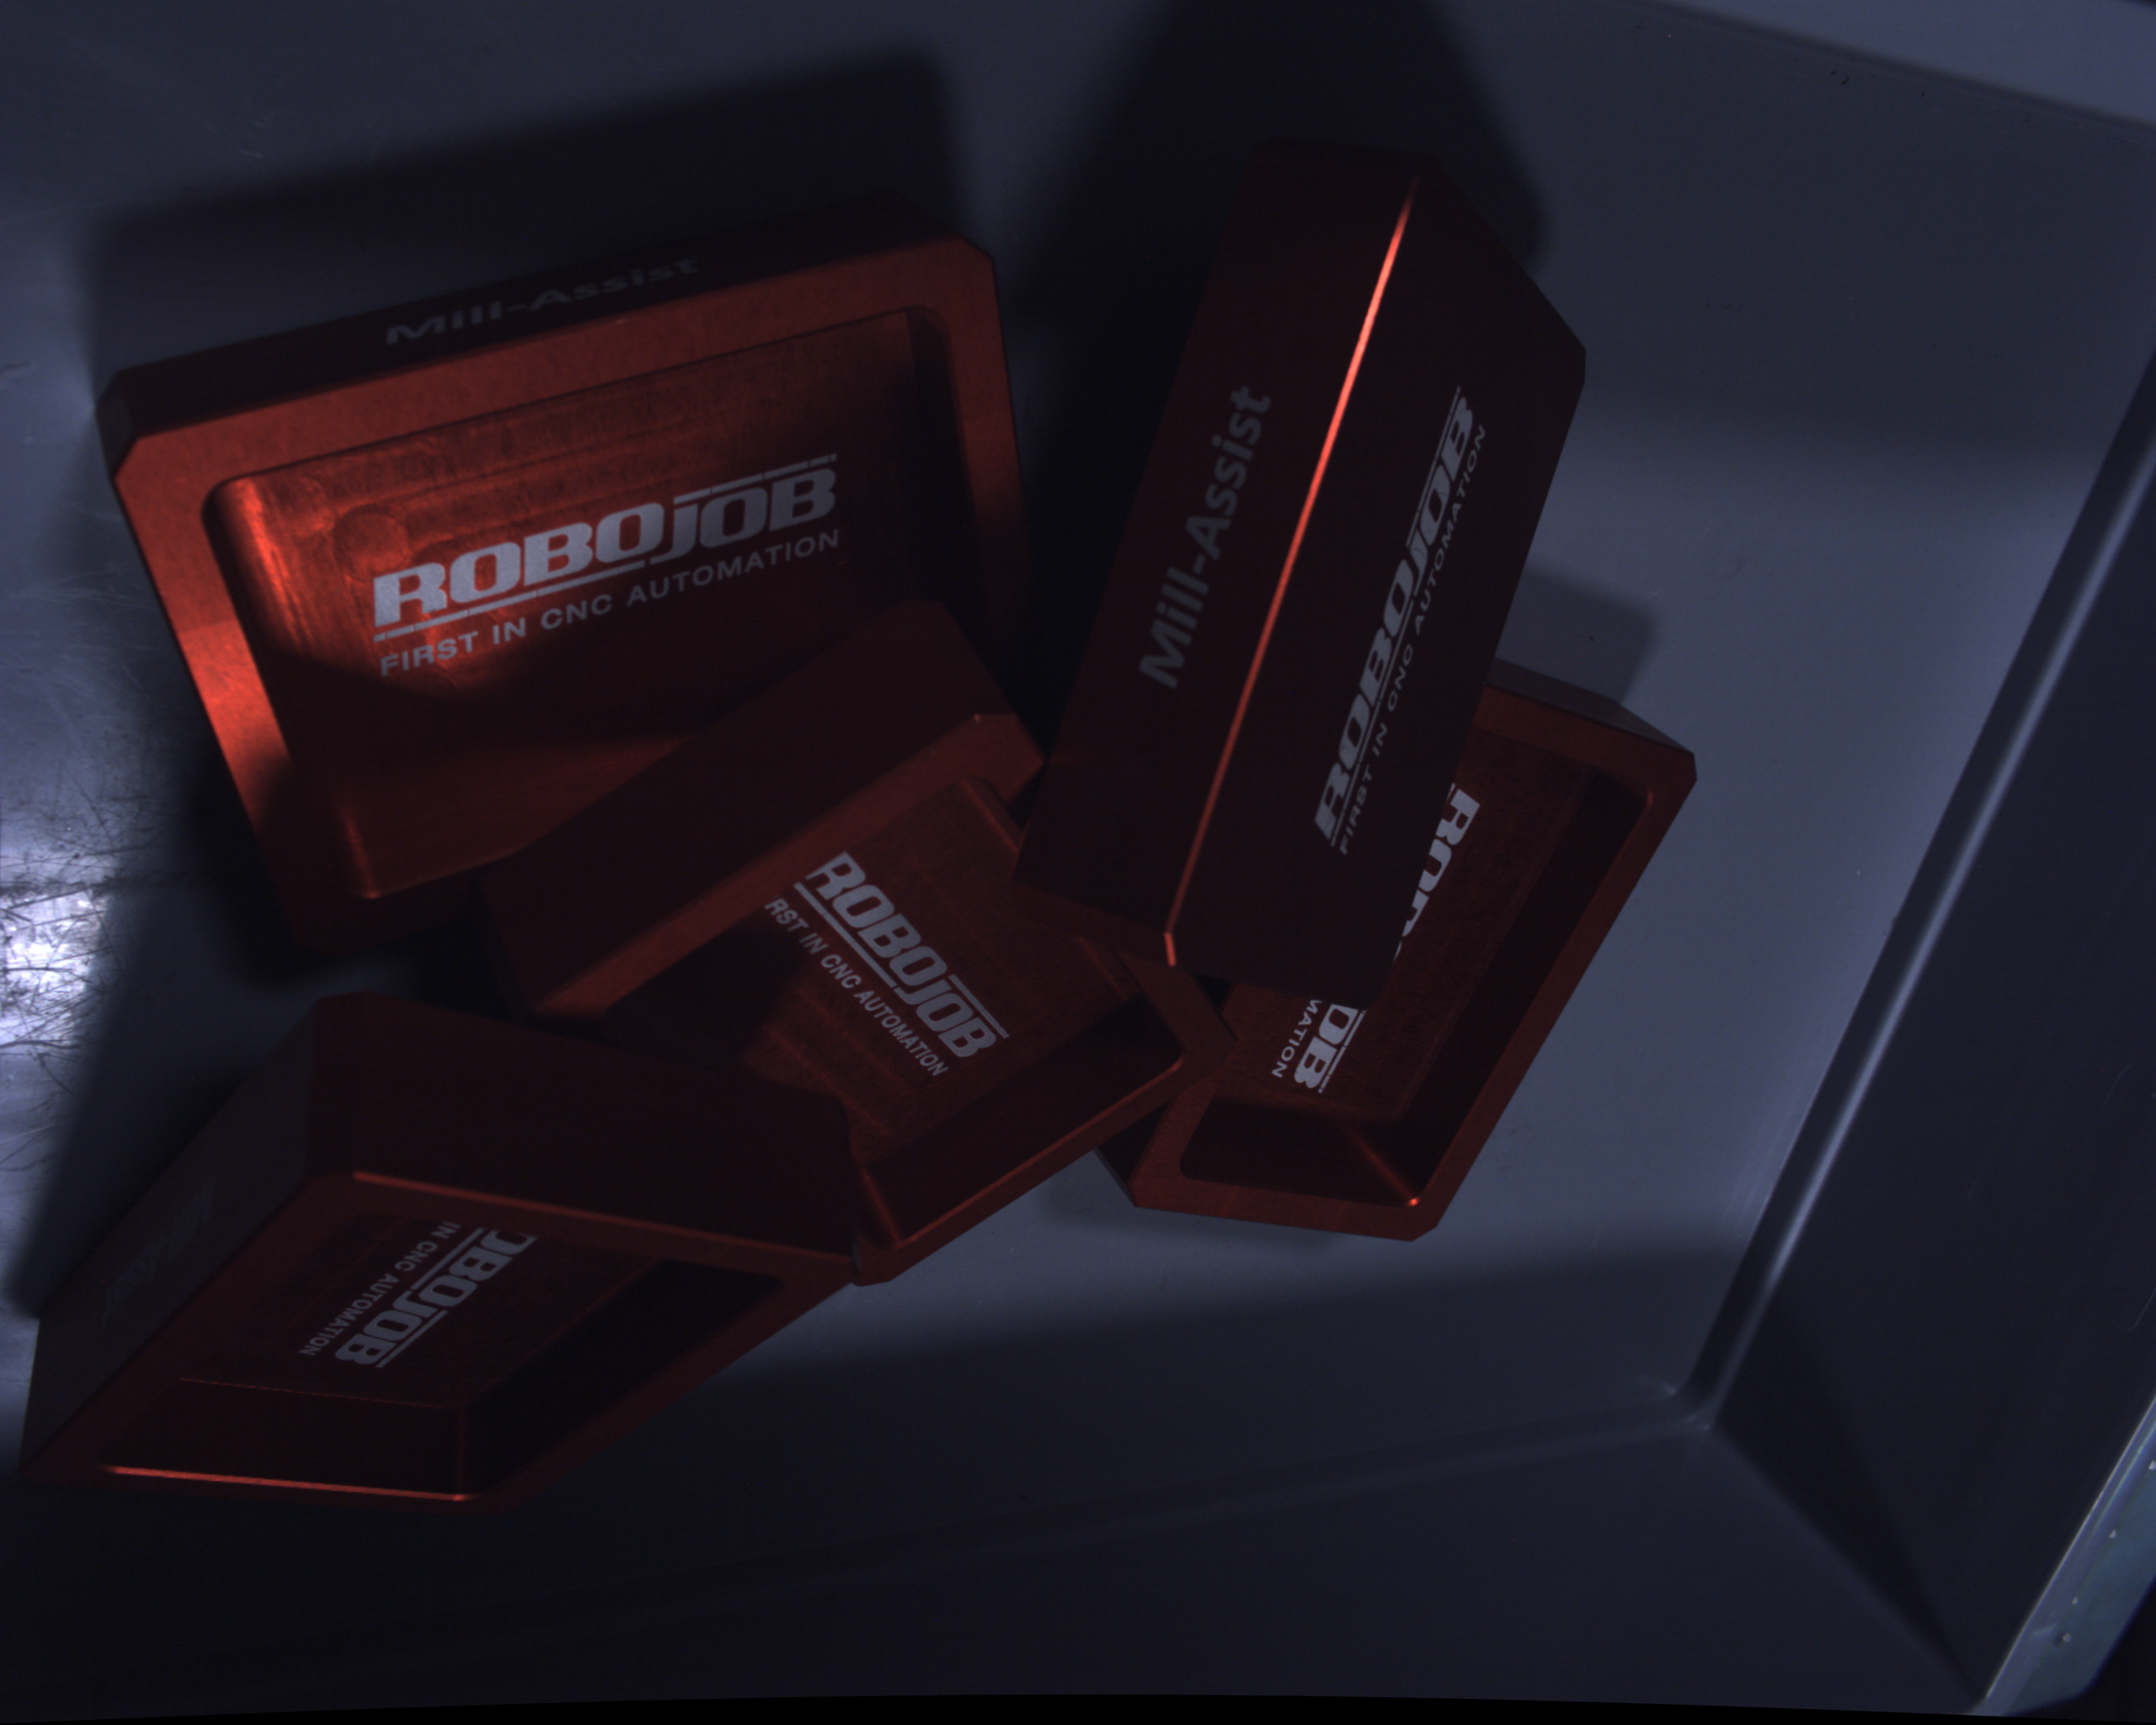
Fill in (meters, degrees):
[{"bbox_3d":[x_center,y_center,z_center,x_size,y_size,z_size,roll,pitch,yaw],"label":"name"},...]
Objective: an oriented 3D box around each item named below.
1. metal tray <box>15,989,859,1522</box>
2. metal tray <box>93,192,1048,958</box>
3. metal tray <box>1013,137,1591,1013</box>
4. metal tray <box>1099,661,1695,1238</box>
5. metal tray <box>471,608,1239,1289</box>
[{"bbox_3d":[-0.109,0.073,0.352,0.091,0.030,0.129,19,137,-36],"label":"metal tray"},{"bbox_3d":[-0.074,-0.047,0.334,0.131,0.030,0.089,-19,126,-18],"label":"metal tray"},{"bbox_3d":[0.043,-0.043,0.357,0.090,0.030,0.129,18,90,-59],"label":"metal tray"},{"bbox_3d":[0.065,0.018,0.452,0.091,0.030,0.129,13,112,-34],"label":"metal tray"},{"bbox_3d":[-0.032,0.022,0.373,0.090,0.030,0.130,-33,144,2],"label":"metal tray"}]
